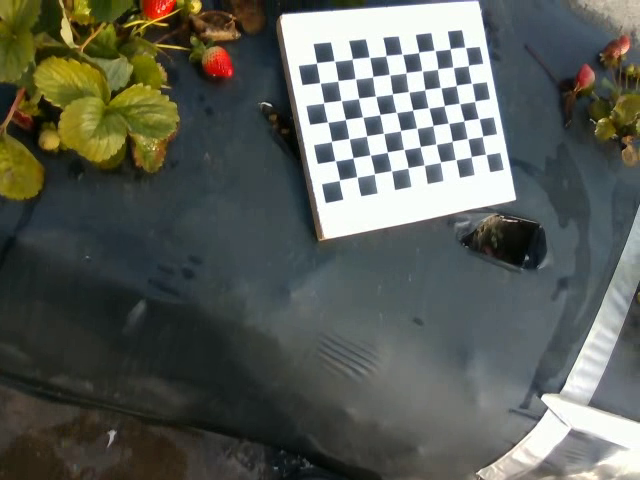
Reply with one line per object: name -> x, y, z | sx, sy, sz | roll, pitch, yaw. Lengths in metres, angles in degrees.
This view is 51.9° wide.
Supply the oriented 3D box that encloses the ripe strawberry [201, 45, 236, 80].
ripe strawberry -> -0.116, -0.200, 0.736 | 0.043, 0.035, 0.029 | 42, -18, -8
